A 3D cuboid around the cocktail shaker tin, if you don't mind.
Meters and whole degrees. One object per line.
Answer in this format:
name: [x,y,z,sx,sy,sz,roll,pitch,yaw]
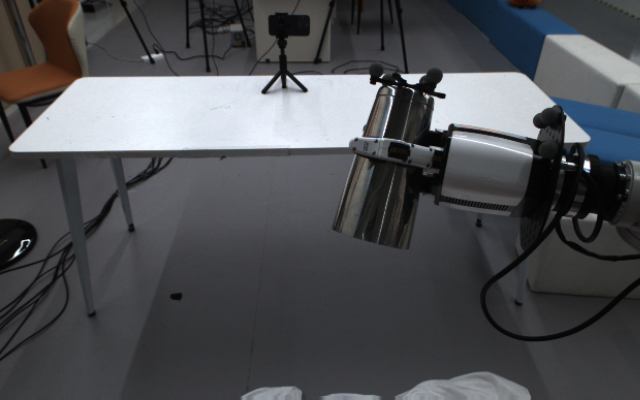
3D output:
cocktail shaker tin: [0.078,-0.038,0.556,0.093,0.170,0.093,14,2,0]
